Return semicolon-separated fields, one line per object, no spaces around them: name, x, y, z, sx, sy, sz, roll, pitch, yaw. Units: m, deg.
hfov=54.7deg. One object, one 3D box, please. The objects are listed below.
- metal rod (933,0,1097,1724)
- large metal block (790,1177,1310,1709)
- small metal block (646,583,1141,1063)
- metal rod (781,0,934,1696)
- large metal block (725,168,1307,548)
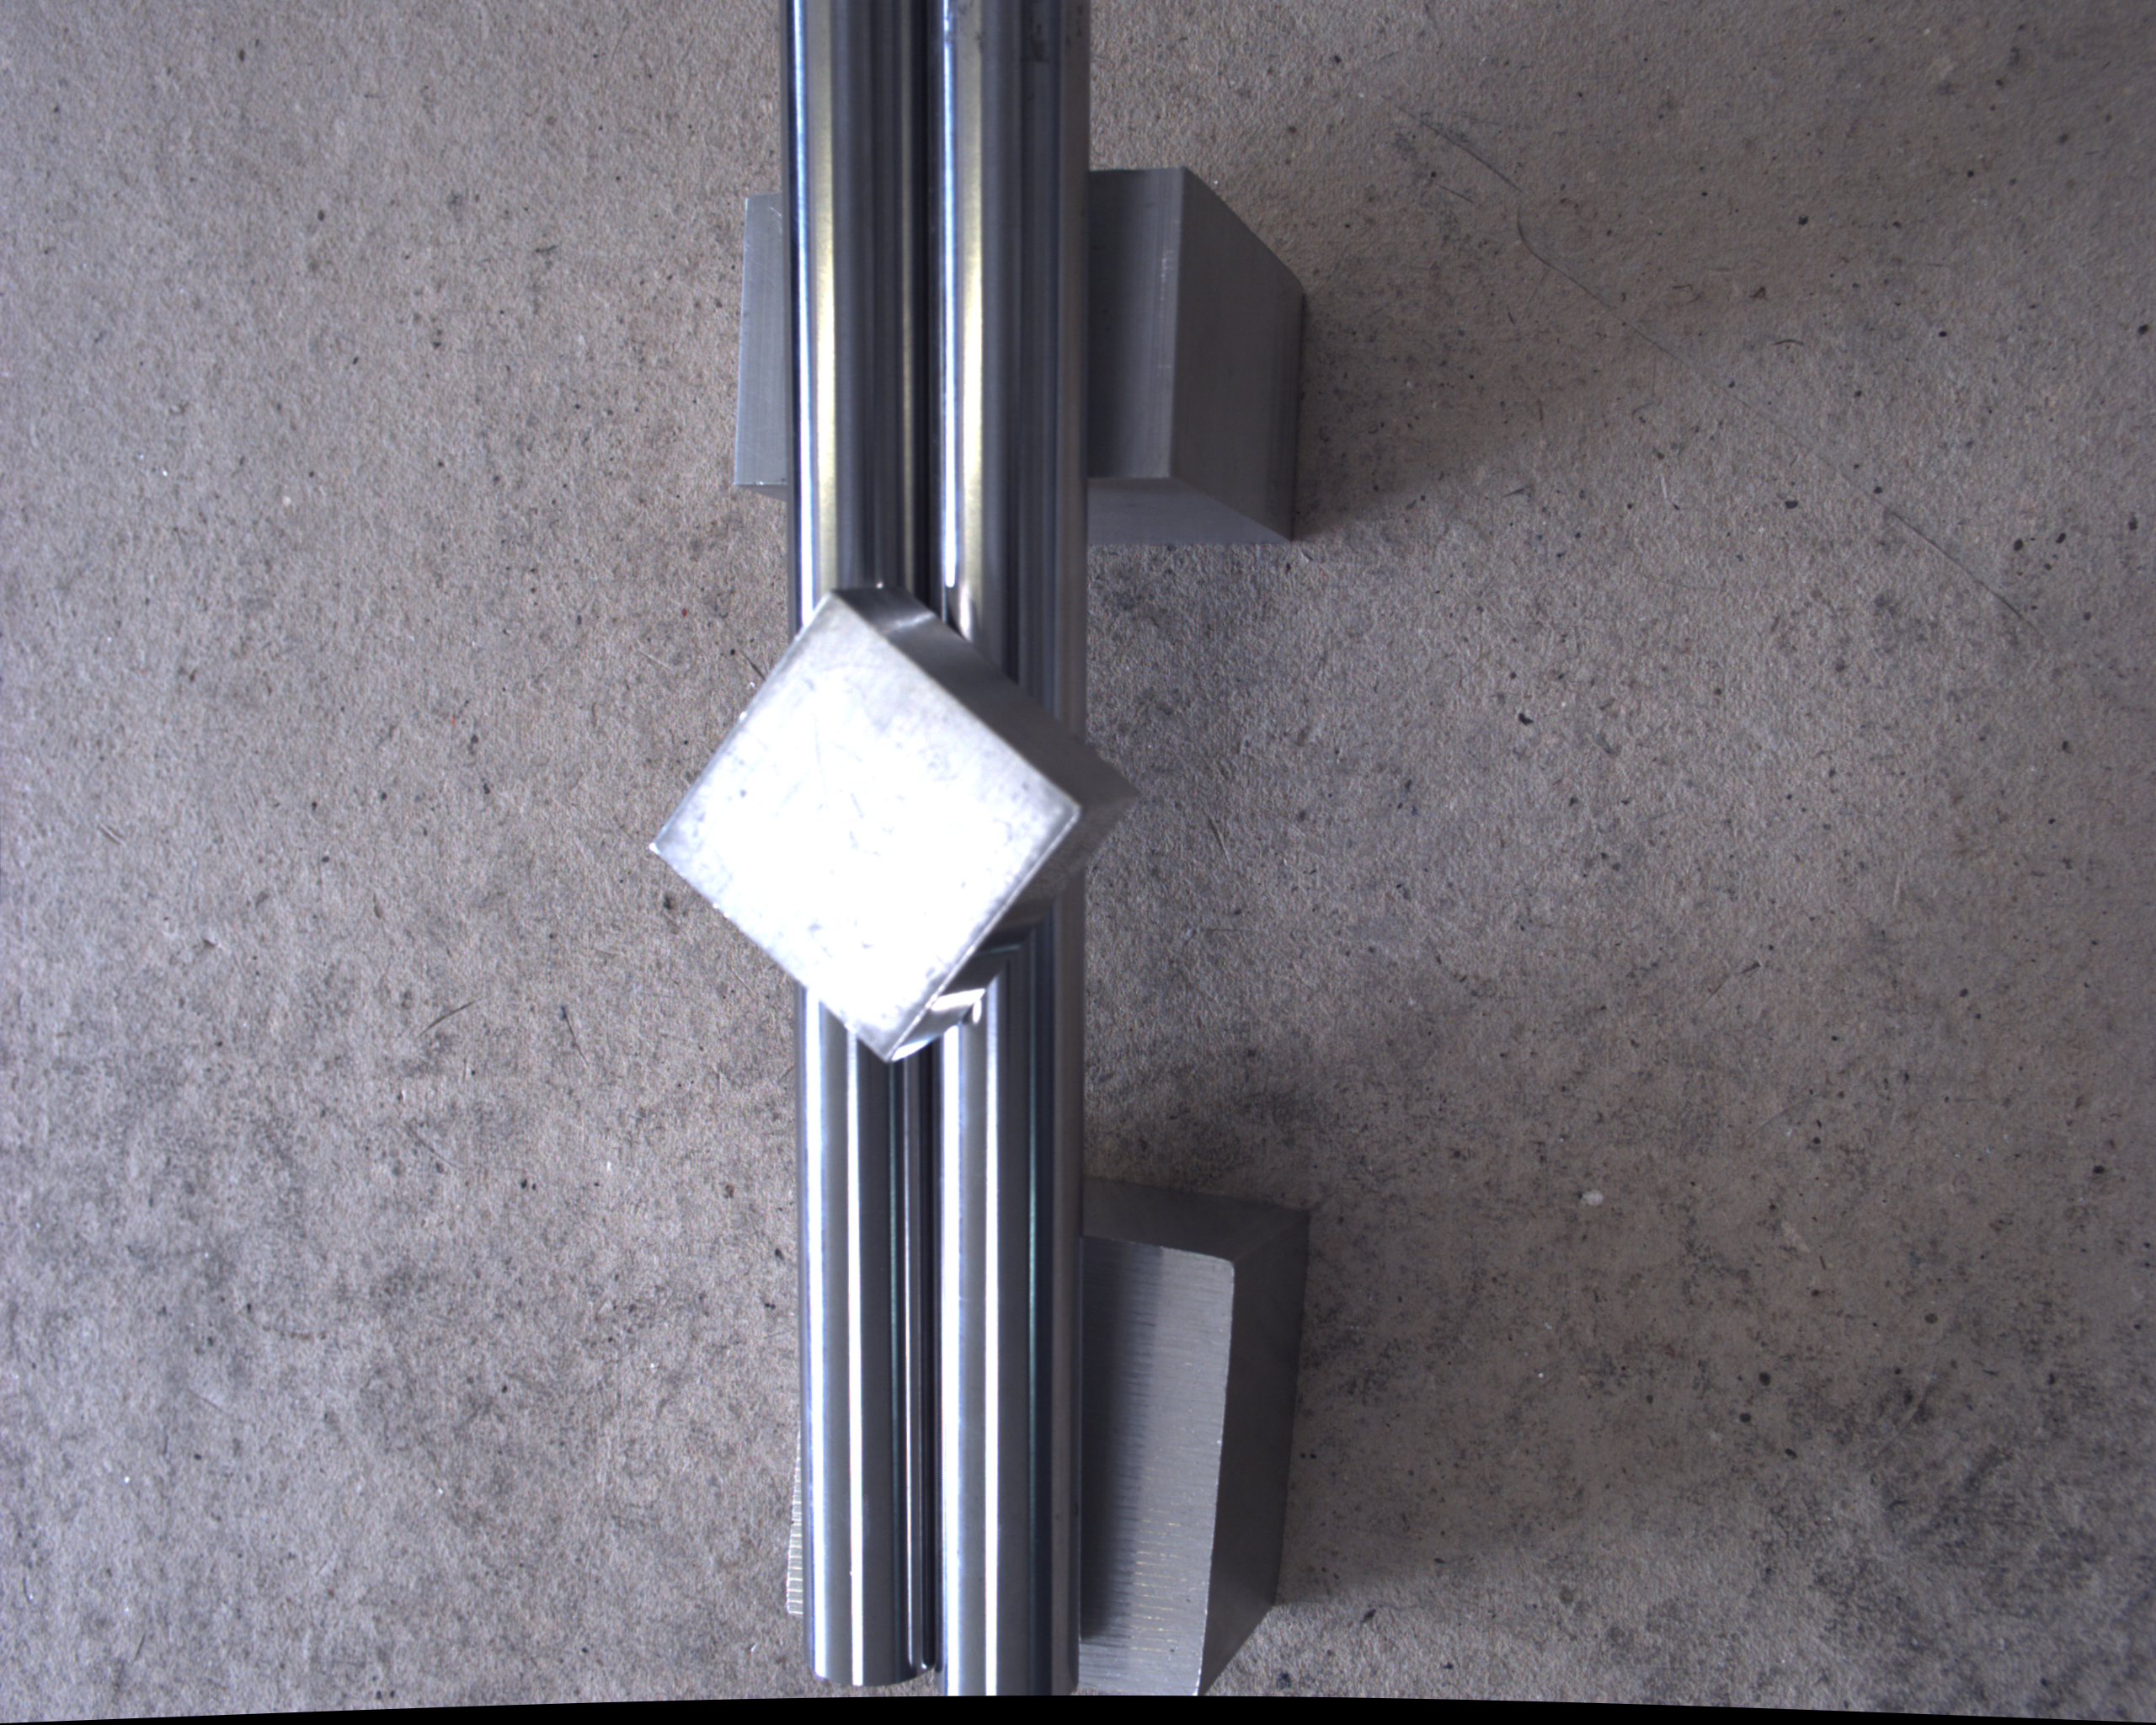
metal rod;-0.011;-0.007;0.336;0.025;0.025;0.298;3;98;20
large metal block;-0.004;0.104;0.398;0.080;0.050;0.079;5;92;20
small metal block;-0.028;-0.007;0.316;0.050;0.025;0.050;41;109;9
metal rod;-0.035;-0.008;0.345;0.025;0.025;0.298;3;98;20
large metal block;-0.008;-0.089;0.384;0.080;0.080;0.050;4;91;20
